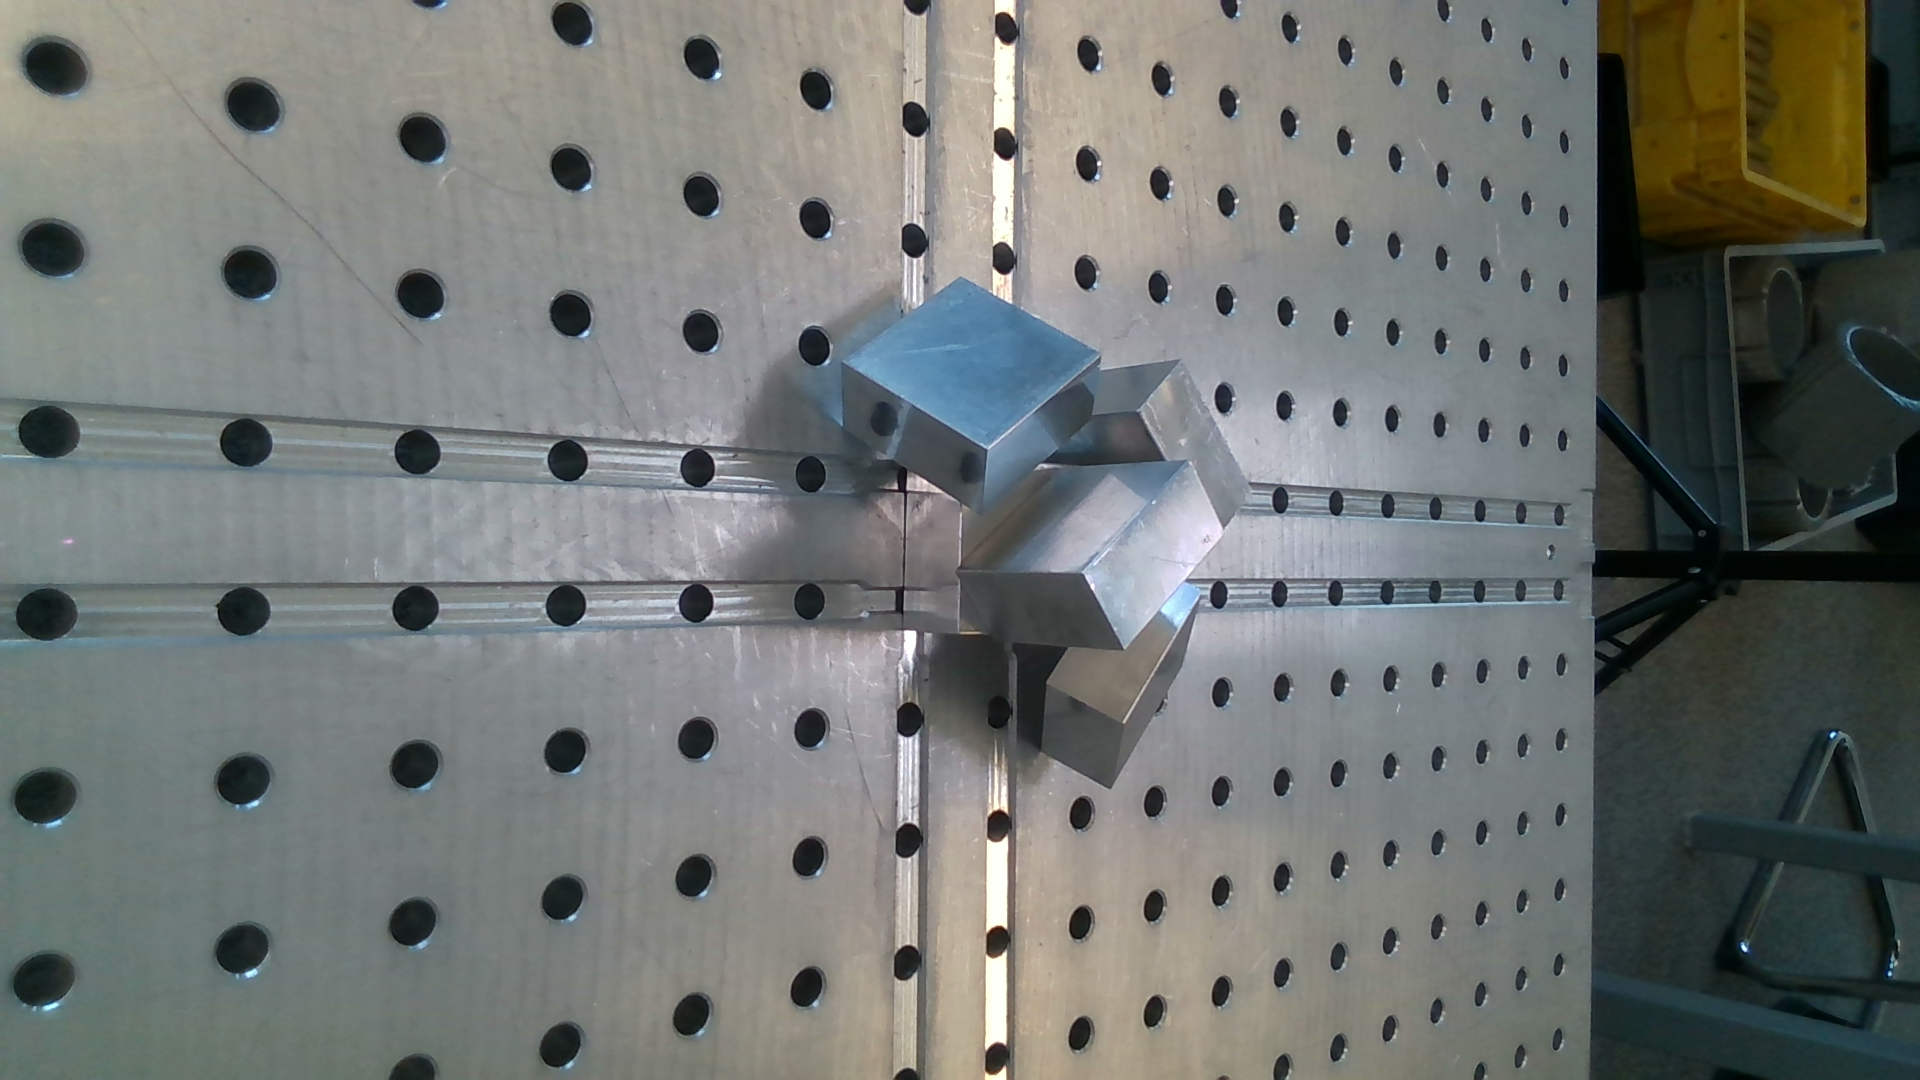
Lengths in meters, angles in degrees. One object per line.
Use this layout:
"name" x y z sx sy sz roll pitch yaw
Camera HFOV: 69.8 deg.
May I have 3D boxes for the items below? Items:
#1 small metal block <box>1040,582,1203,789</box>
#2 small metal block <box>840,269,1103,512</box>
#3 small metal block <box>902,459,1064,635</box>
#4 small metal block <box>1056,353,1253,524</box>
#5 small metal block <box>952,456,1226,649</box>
"small metal block" 0.048 0.040 0.417 0.050 0.025 0.050 -55 162 -26
"small metal block" 0.003 -0.042 0.376 0.050 0.050 0.025 -41 152 -33
"small metal block" 0.011 0.001 0.403 0.050 0.025 0.050 1 91 -41
"small metal block" 0.053 -0.027 0.423 0.025 0.050 0.050 -49 119 -29
"small metal block" 0.035 0.002 0.374 0.050 0.050 0.025 -43 117 -31
